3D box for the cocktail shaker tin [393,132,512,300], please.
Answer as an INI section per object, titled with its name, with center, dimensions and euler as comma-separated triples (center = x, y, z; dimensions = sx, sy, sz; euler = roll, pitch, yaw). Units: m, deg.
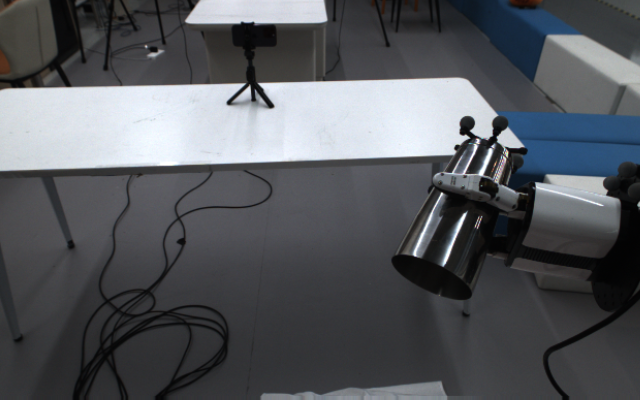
[cocktail shaker tin]
center = 0.161, 0.012, 0.545
dimensions = 0.093, 0.093, 0.170
euler = 20, 67, 23
